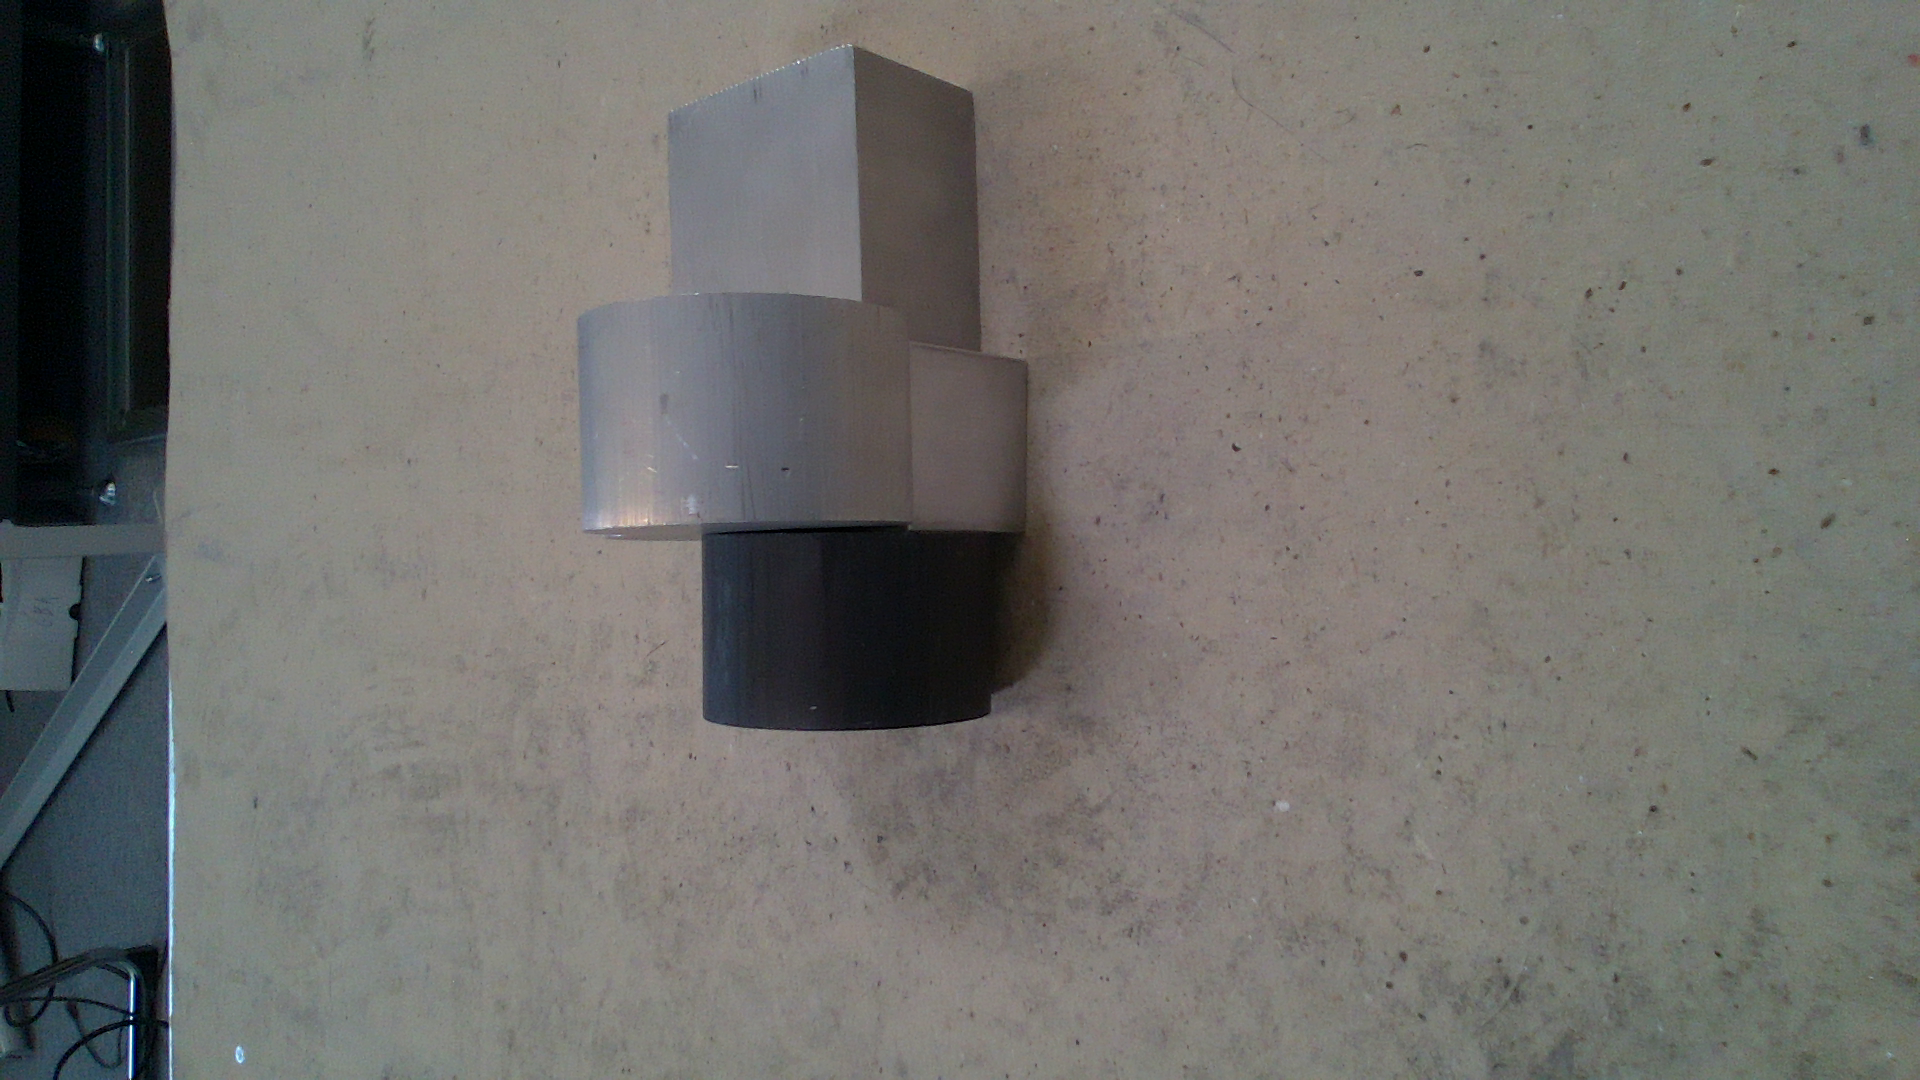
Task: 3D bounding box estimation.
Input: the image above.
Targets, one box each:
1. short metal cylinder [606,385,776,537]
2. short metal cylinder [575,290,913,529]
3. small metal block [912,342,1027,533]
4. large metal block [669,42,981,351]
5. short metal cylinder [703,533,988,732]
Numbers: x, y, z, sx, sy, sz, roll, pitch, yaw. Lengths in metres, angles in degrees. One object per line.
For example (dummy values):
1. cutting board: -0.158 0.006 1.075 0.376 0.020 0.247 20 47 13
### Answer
1. short metal cylinder: -0.067 -0.027 0.416 0.080 0.080 0.050 -3 88 40
2. short metal cylinder: -0.052 -0.028 0.338 0.080 0.080 0.050 -3 88 40
3. small metal block: -0.007 -0.027 0.387 0.025 0.050 0.050 1 91 40
4. large metal block: -0.041 -0.093 0.414 0.080 0.050 0.080 -3 88 40
5. short metal cylinder: -0.031 0.024 0.386 0.080 0.080 0.050 -1 90 40
